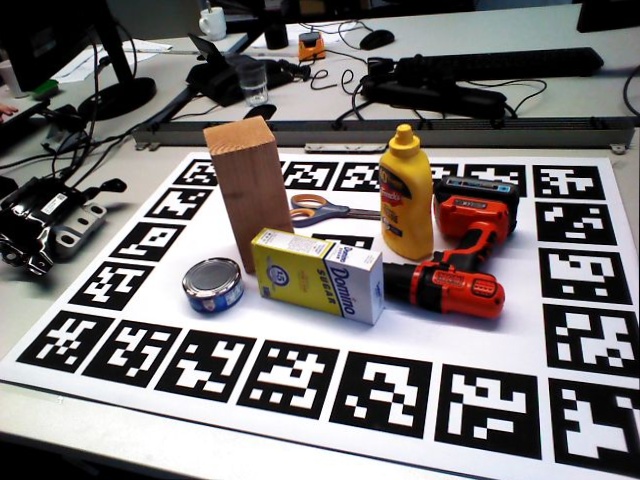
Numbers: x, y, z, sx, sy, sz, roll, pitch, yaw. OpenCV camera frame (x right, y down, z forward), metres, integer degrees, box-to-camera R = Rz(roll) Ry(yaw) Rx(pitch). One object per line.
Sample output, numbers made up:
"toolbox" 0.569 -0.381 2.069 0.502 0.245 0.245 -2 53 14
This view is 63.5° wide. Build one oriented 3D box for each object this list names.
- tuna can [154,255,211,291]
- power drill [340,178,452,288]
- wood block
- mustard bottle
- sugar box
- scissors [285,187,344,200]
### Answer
"tuna can" -0.212 0.038 0.793 0.086 0.034 0.085 -7 39 5
"power drill" 0.105 -0.017 0.763 0.185 0.057 0.185 11 50 28
"wood block" -0.157 -0.084 0.814 0.091 0.207 0.089 -16 39 -5
"mustard bottle" 0.063 -0.096 0.779 0.058 0.192 0.096 -24 40 -14
"sugar box" -0.056 0.020 0.734 0.177 0.093 0.045 12 40 25
"scissors" -0.042 -0.079 0.914 0.204 0.016 0.087 3 36 19
